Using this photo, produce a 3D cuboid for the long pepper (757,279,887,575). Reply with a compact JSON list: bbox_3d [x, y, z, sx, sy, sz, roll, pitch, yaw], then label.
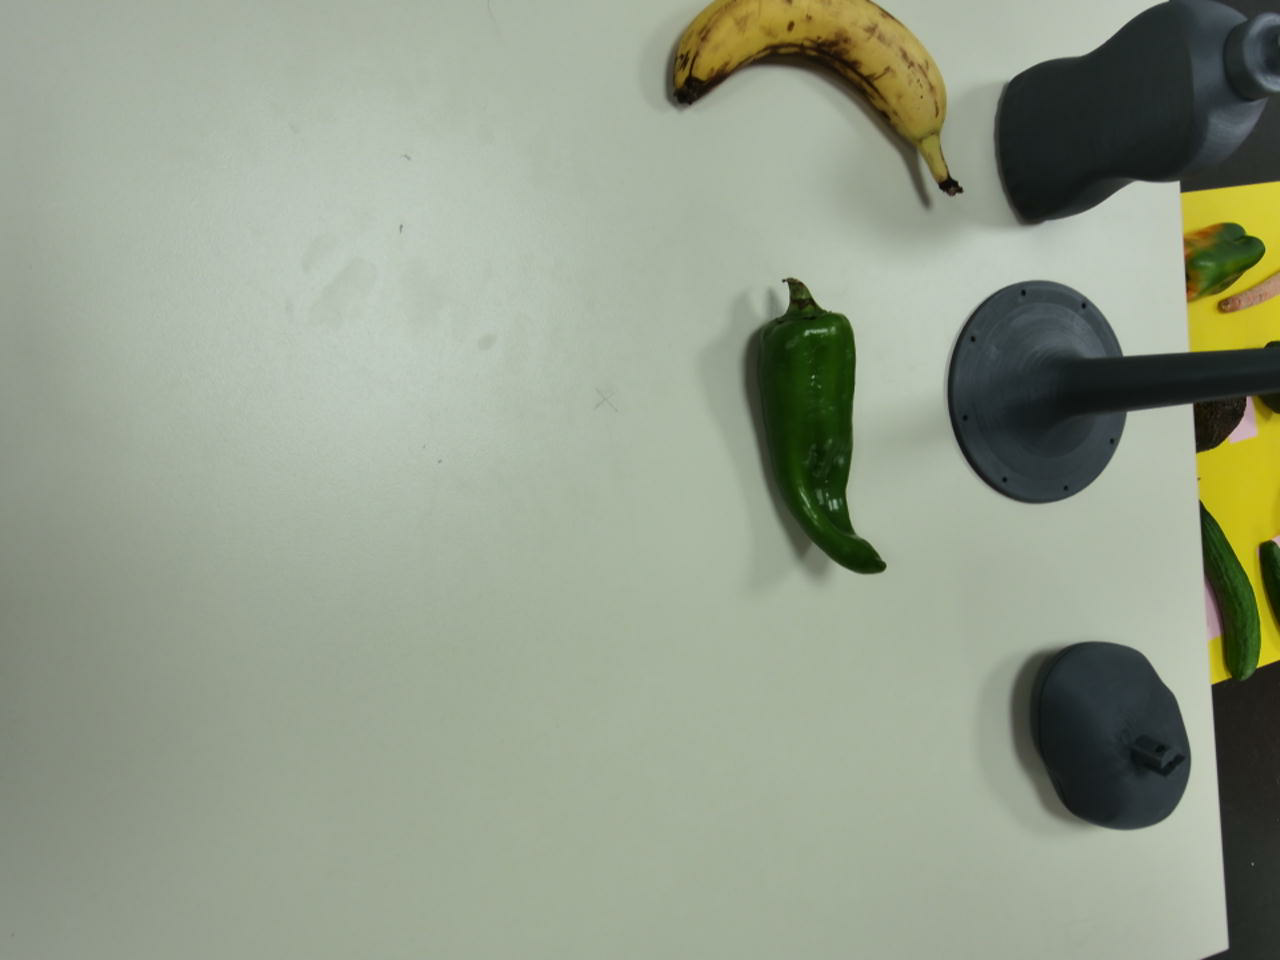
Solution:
[{"bbox_3d":[0.104,-0.030,0.576,0.058,0.065,0.175,-8,94,-22],"label":"long pepper"}]
